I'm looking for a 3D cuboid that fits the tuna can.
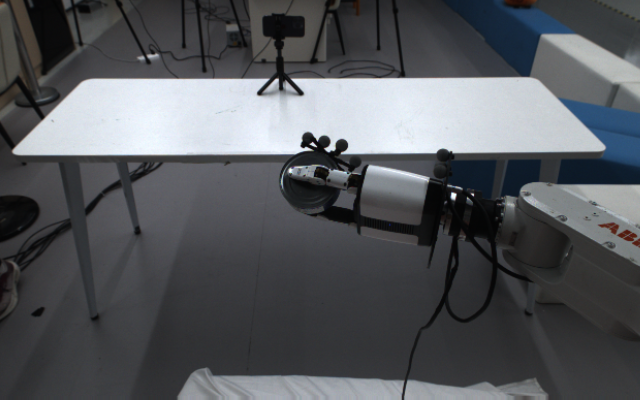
[{"bbox_3d":[-0.013,-0.025,0.687,0.085,0.034,0.085,-2,71,6],"label":"tuna can"}]
